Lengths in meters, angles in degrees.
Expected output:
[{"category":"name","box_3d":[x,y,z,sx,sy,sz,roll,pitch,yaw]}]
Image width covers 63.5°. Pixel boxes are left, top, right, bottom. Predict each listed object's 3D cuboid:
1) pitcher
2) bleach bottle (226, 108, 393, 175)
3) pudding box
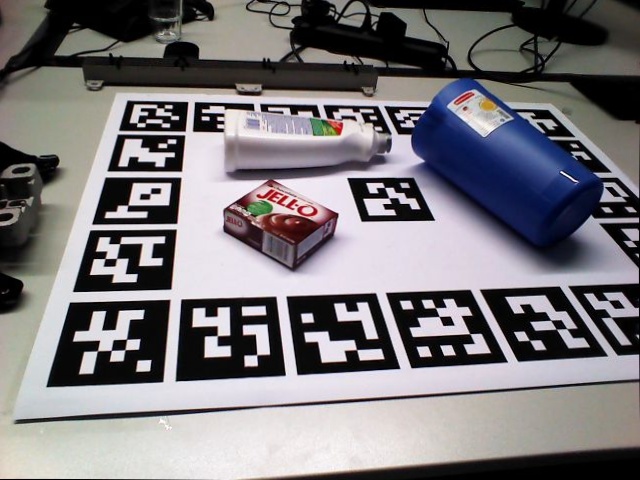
[{"category":"pitcher","box_3d":[0.263,-0.086,0.701,0.188,0.134,0.242,14,32,-49]},{"category":"bleach bottle","box_3d":[-0.008,-0.144,0.753,0.250,0.068,0.102,-1,47,-12]},{"category":"pudding box","box_3d":[-0.048,-0.022,0.622,0.114,0.039,0.089,33,42,24]}]
